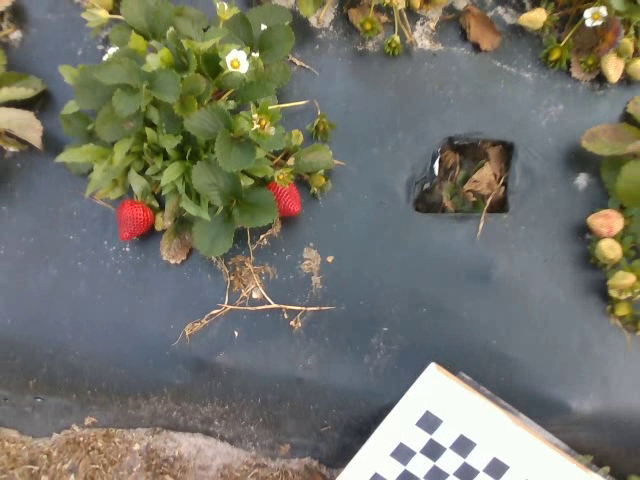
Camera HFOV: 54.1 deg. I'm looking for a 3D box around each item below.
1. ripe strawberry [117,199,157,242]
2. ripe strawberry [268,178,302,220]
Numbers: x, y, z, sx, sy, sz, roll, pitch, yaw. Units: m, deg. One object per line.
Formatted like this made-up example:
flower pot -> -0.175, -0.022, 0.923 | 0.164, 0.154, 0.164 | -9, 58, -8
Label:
ripe strawberry -> -0.199, -0.020, 0.660 | 0.043, 0.051, 0.043 | 19, -15, -3
ripe strawberry -> -0.038, -0.043, 0.671 | 0.046, 0.043, 0.046 | 38, 10, 23
